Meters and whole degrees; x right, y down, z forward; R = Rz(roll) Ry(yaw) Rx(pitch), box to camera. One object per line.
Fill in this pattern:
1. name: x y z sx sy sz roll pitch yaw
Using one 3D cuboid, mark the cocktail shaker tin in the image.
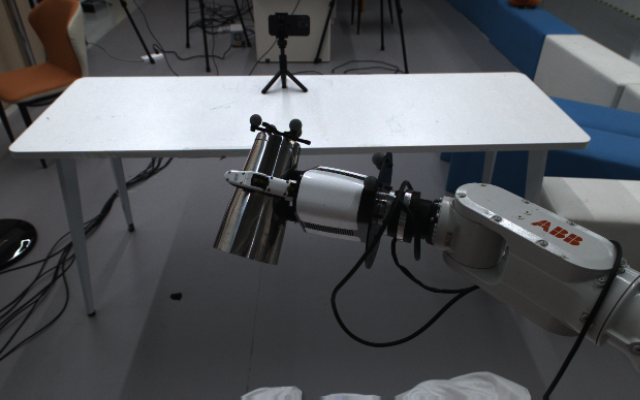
1. cocktail shaker tin: -0.082 -0.004 0.677 0.093 0.170 0.093 15 -6 2
